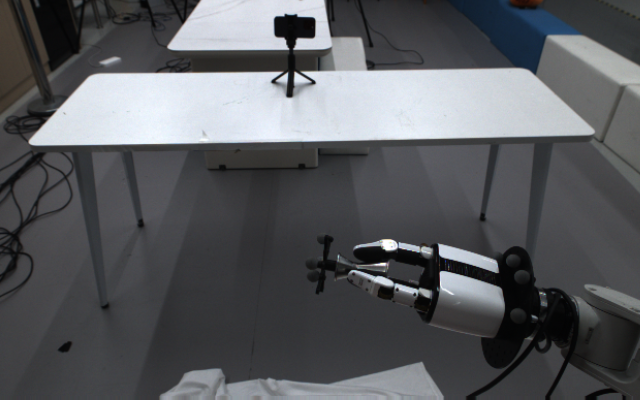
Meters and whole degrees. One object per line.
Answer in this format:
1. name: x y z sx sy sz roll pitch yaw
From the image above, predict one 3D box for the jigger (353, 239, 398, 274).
1. jigger: 0.063 0.088 0.648 0.071 0.043 0.043 7 35 8
